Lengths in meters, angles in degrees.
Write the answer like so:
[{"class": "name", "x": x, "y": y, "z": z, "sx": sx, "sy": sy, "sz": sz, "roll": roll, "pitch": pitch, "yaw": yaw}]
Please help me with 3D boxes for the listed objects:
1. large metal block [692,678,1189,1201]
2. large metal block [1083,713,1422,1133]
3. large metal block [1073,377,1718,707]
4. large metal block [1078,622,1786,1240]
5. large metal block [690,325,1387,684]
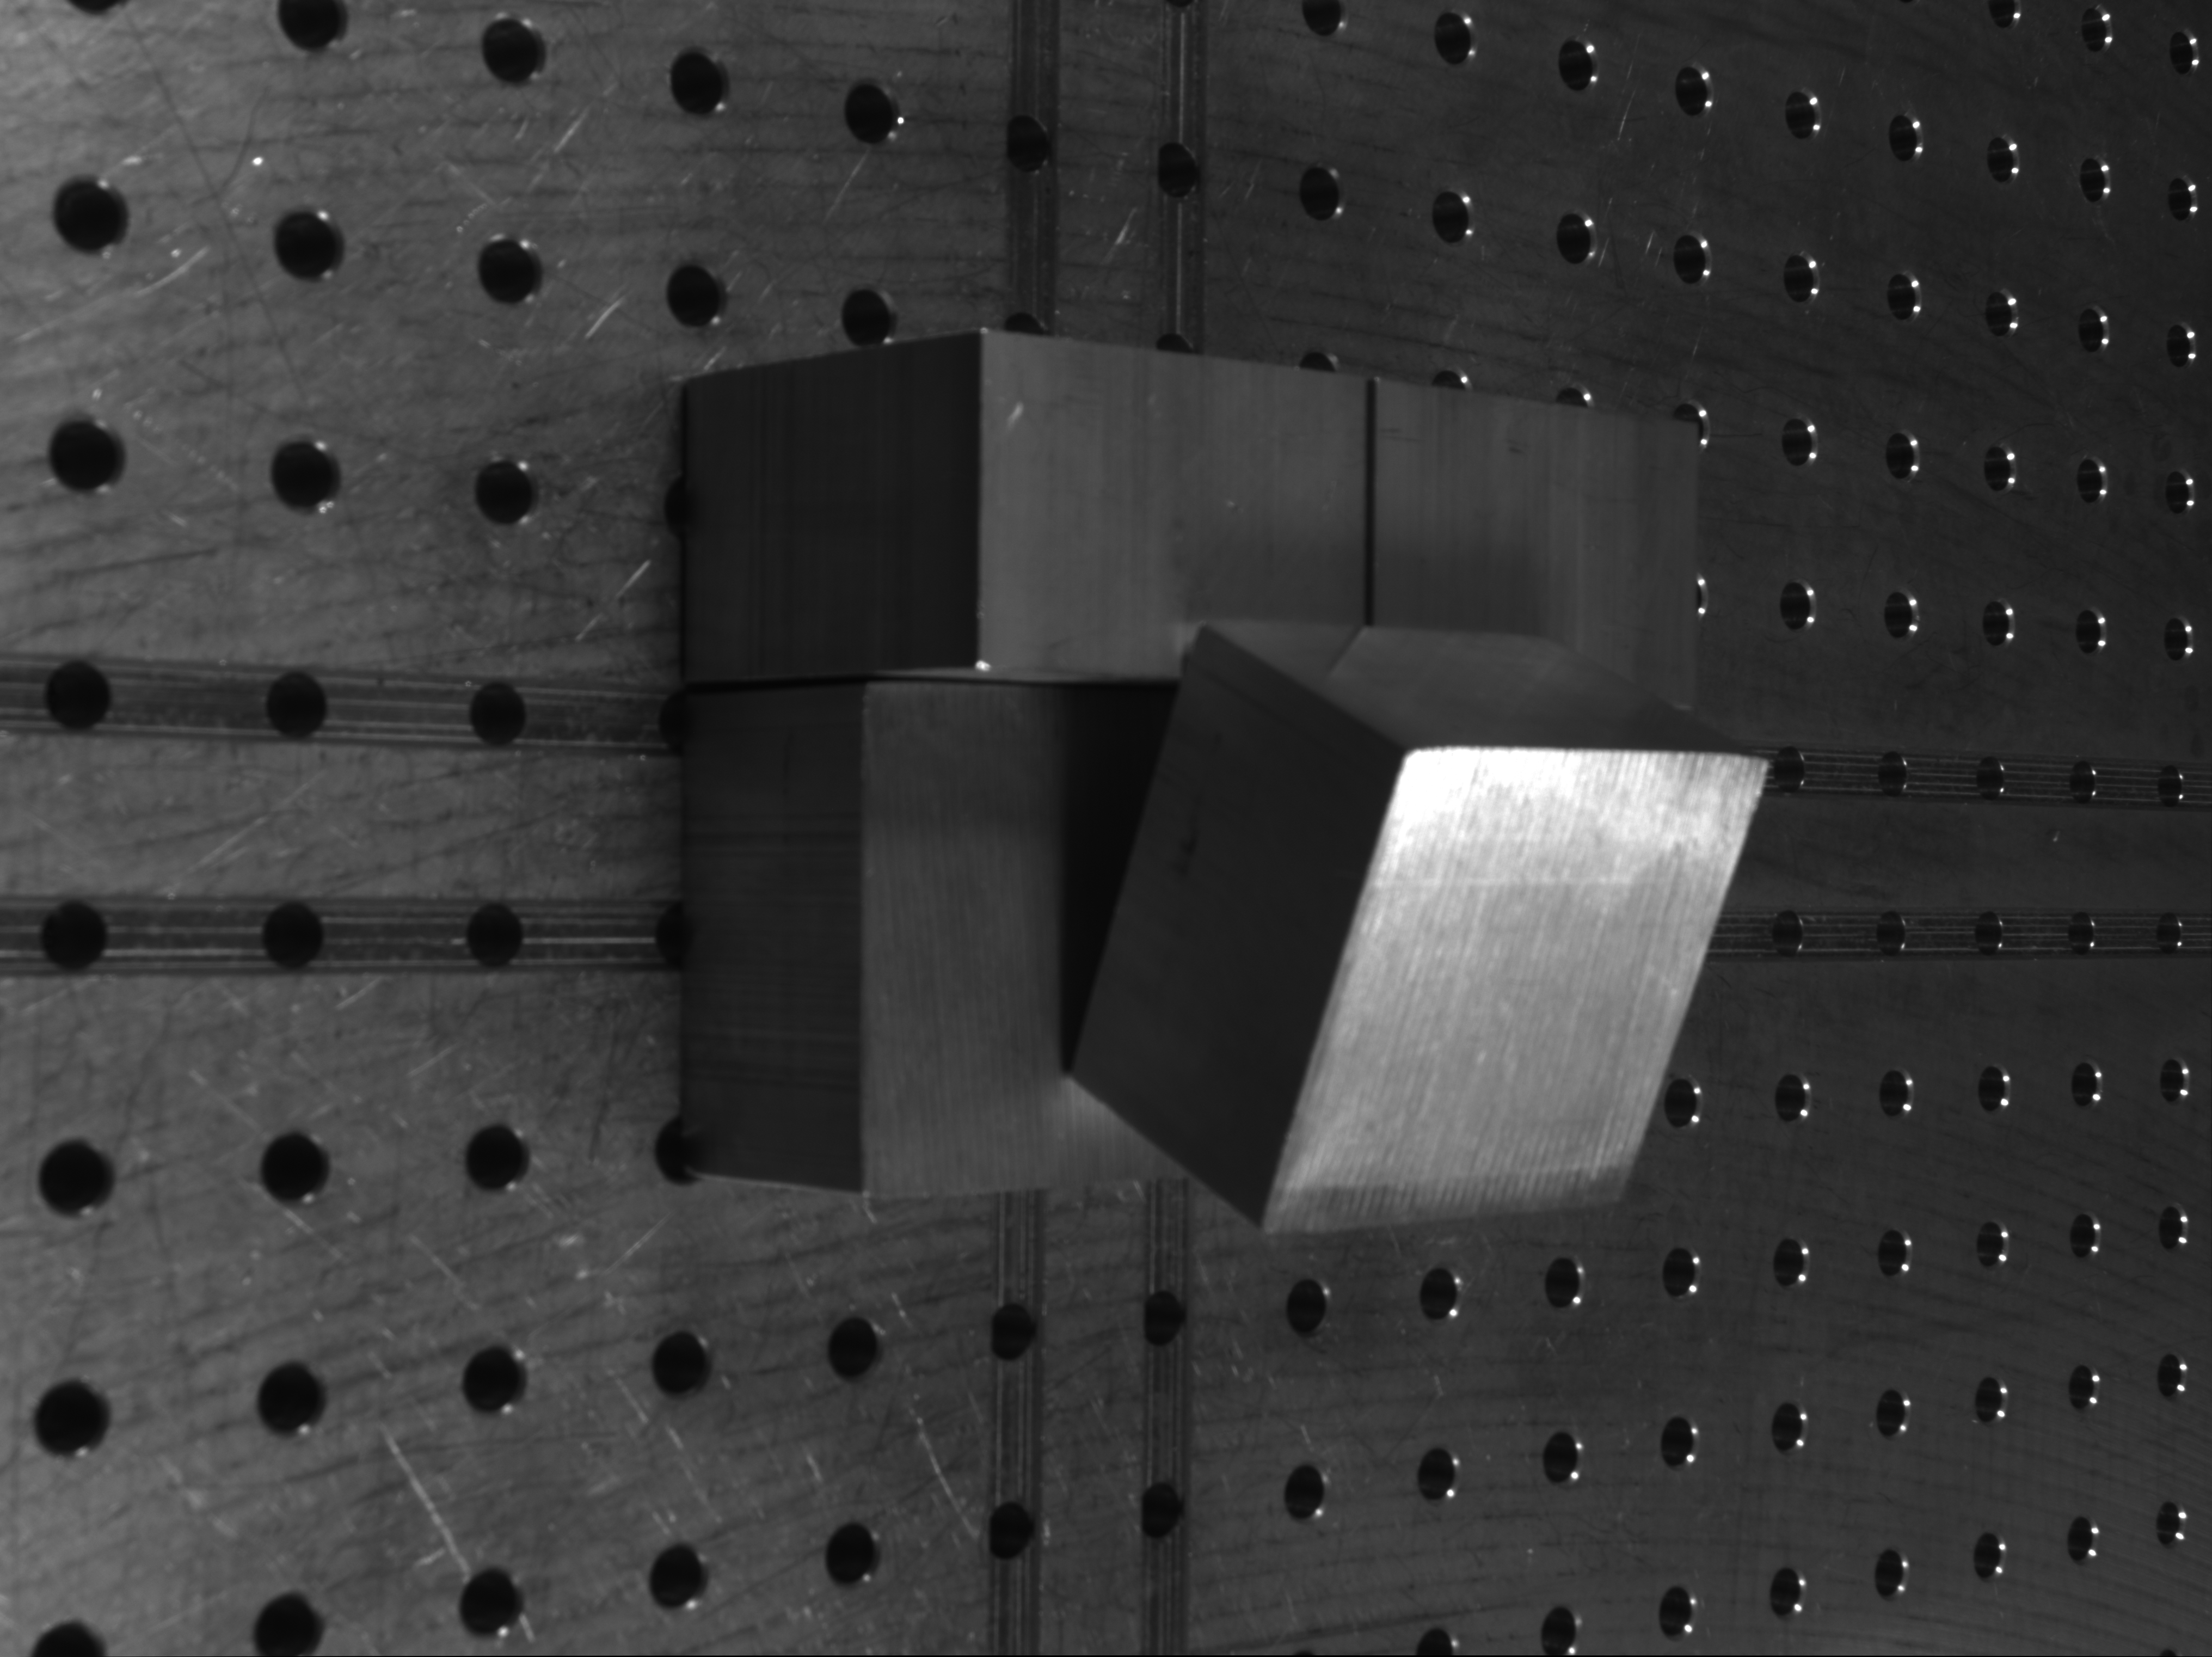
[{"class": "large metal block", "x": -0.020, "y": 0.018, "z": 0.605, "sx": 0.080, "sy": 0.050, "sz": 0.080, "roll": 1, "pitch": 89, "yaw": -40}, {"class": "large metal block", "x": 0.042, "y": 0.019, "z": 0.656, "sx": 0.080, "sy": 0.050, "sz": 0.080, "roll": 1, "pitch": 89, "yaw": -40}, {"class": "large metal block", "x": 0.051, "y": -0.047, "z": 0.645, "sx": 0.080, "sy": 0.080, "sz": 0.050, "roll": 1, "pitch": 89, "yaw": -40}, {"class": "large metal block", "x": 0.051, "y": 0.015, "z": 0.580, "sx": 0.080, "sy": 0.050, "sz": 0.080, "roll": 0, "pitch": 114, "yaw": -40}, {"class": "large metal block", "x": -0.011, "y": -0.048, "z": 0.594, "sx": 0.080, "sy": 0.080, "sz": 0.050, "roll": 1, "pitch": 89, "yaw": -40}]
